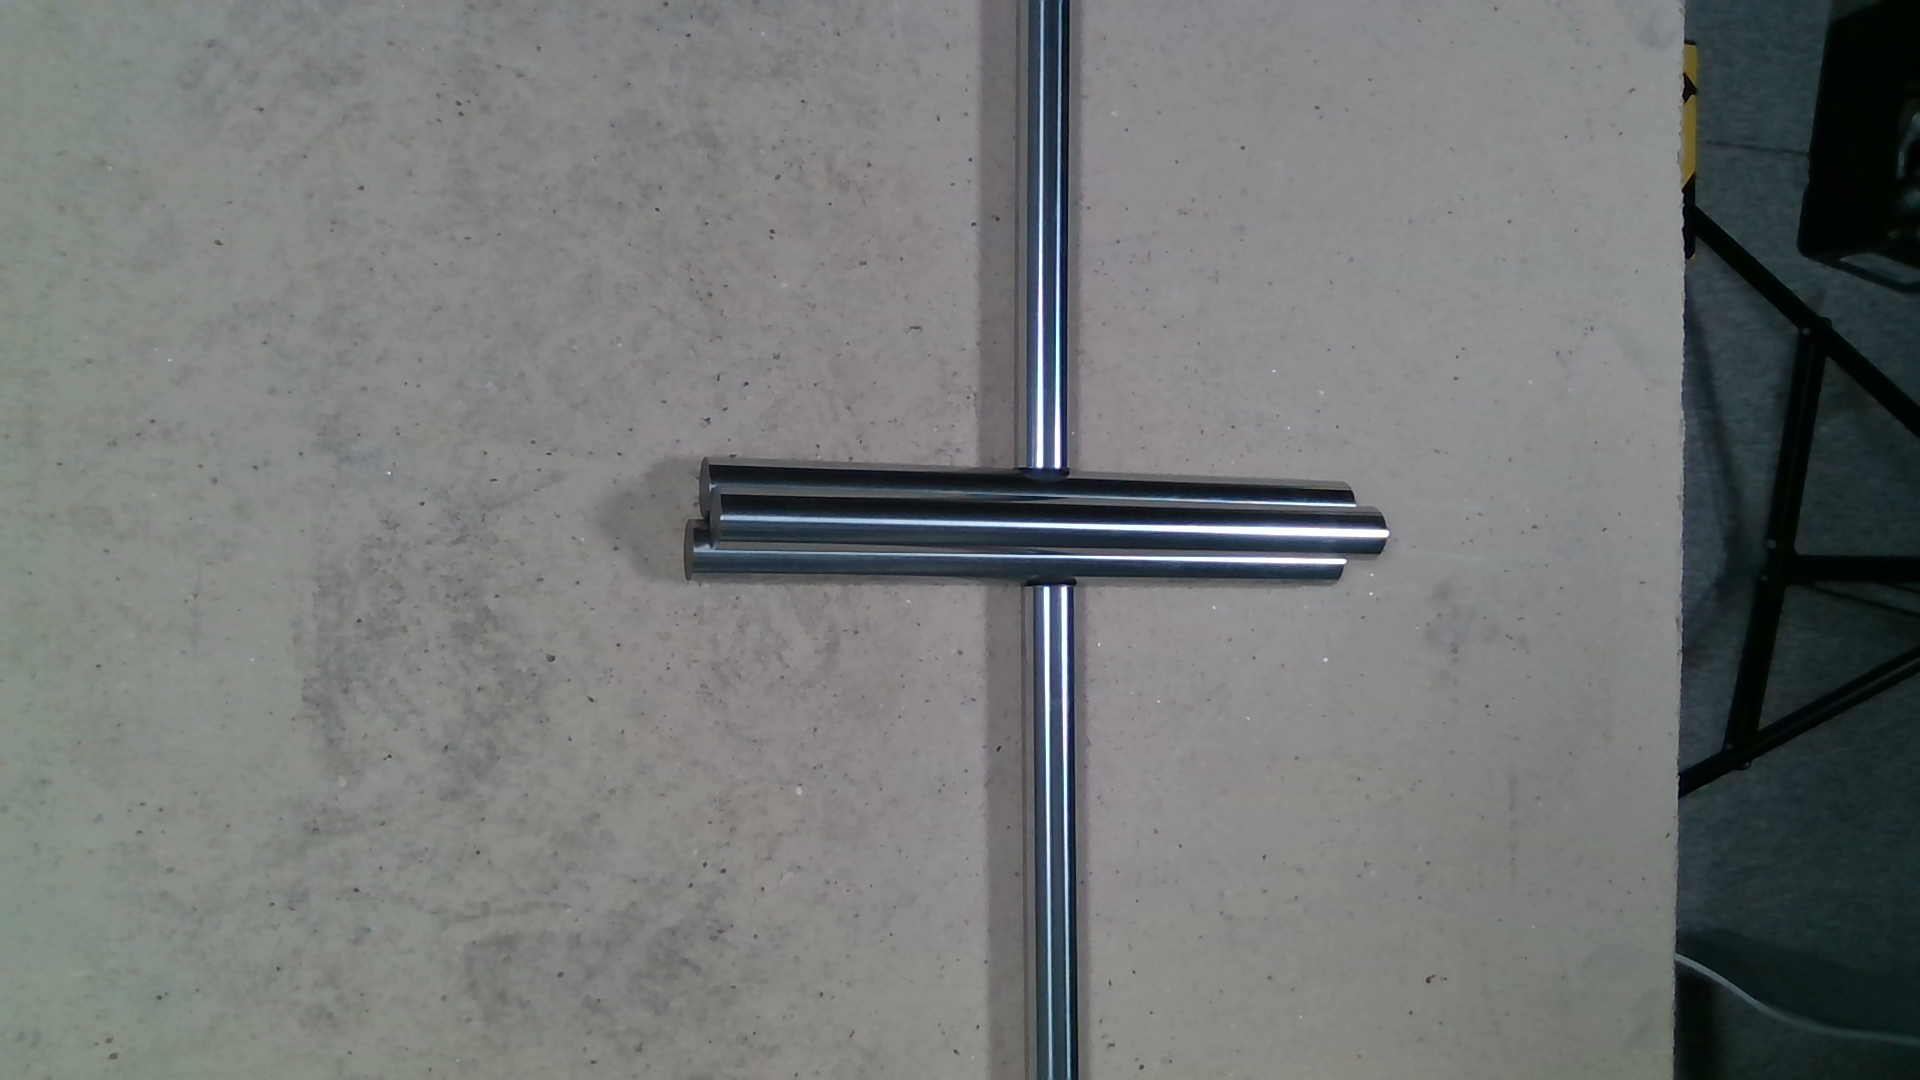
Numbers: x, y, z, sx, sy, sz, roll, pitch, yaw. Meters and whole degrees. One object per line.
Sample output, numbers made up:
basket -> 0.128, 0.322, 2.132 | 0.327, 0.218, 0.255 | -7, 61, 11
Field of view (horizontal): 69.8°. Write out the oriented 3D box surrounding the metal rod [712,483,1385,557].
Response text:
metal rod -> 0.047, -0.006, 0.582 | 0.300, 0.025, 0.025 | 1, 90, -20

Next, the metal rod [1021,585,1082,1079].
metal rod -> 0.040, 0.169, 0.602 | 0.025, 0.025, 0.300 | -1, 90, -20

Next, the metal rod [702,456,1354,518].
metal rod -> 0.038, -0.018, 0.601 | 0.300, 0.025, 0.025 | 1, 90, -20

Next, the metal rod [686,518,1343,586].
metal rod -> 0.033, 0.007, 0.599 | 0.300, 0.025, 0.025 | 1, 90, -20

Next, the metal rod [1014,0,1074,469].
metal rod -> 0.037, -0.181, 0.599 | 0.025, 0.025, 0.300 | 0, 90, -20
